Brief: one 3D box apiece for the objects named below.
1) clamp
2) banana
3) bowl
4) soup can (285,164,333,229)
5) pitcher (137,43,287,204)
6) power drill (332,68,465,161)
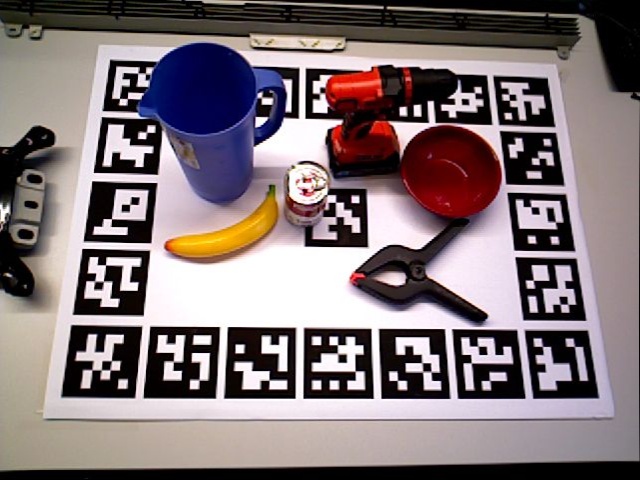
[{"bbox_3d":[0.148,0.052,0.797,0.201,0.037,0.165,-2,77,-4],"label":"clamp"},{"bbox_3d":[-0.143,-0.011,0.808,0.195,0.039,0.074,-24,67,-12],"label":"banana"},{"bbox_3d":[0.204,-0.099,0.843,0.161,0.056,0.160,1,74,-3],"label":"bowl"},{"bbox_3d":[-0.018,-0.069,0.798,0.067,0.104,0.067,1,63,-3],"label":"soup can"},{"bbox_3d":[-0.134,-0.152,0.741,0.187,0.246,0.133,-23,72,-11],"label":"pitcher"},{"bbox_3d":[0.101,-0.182,0.773,0.183,0.189,0.057,-4,72,-6],"label":"power drill"}]
